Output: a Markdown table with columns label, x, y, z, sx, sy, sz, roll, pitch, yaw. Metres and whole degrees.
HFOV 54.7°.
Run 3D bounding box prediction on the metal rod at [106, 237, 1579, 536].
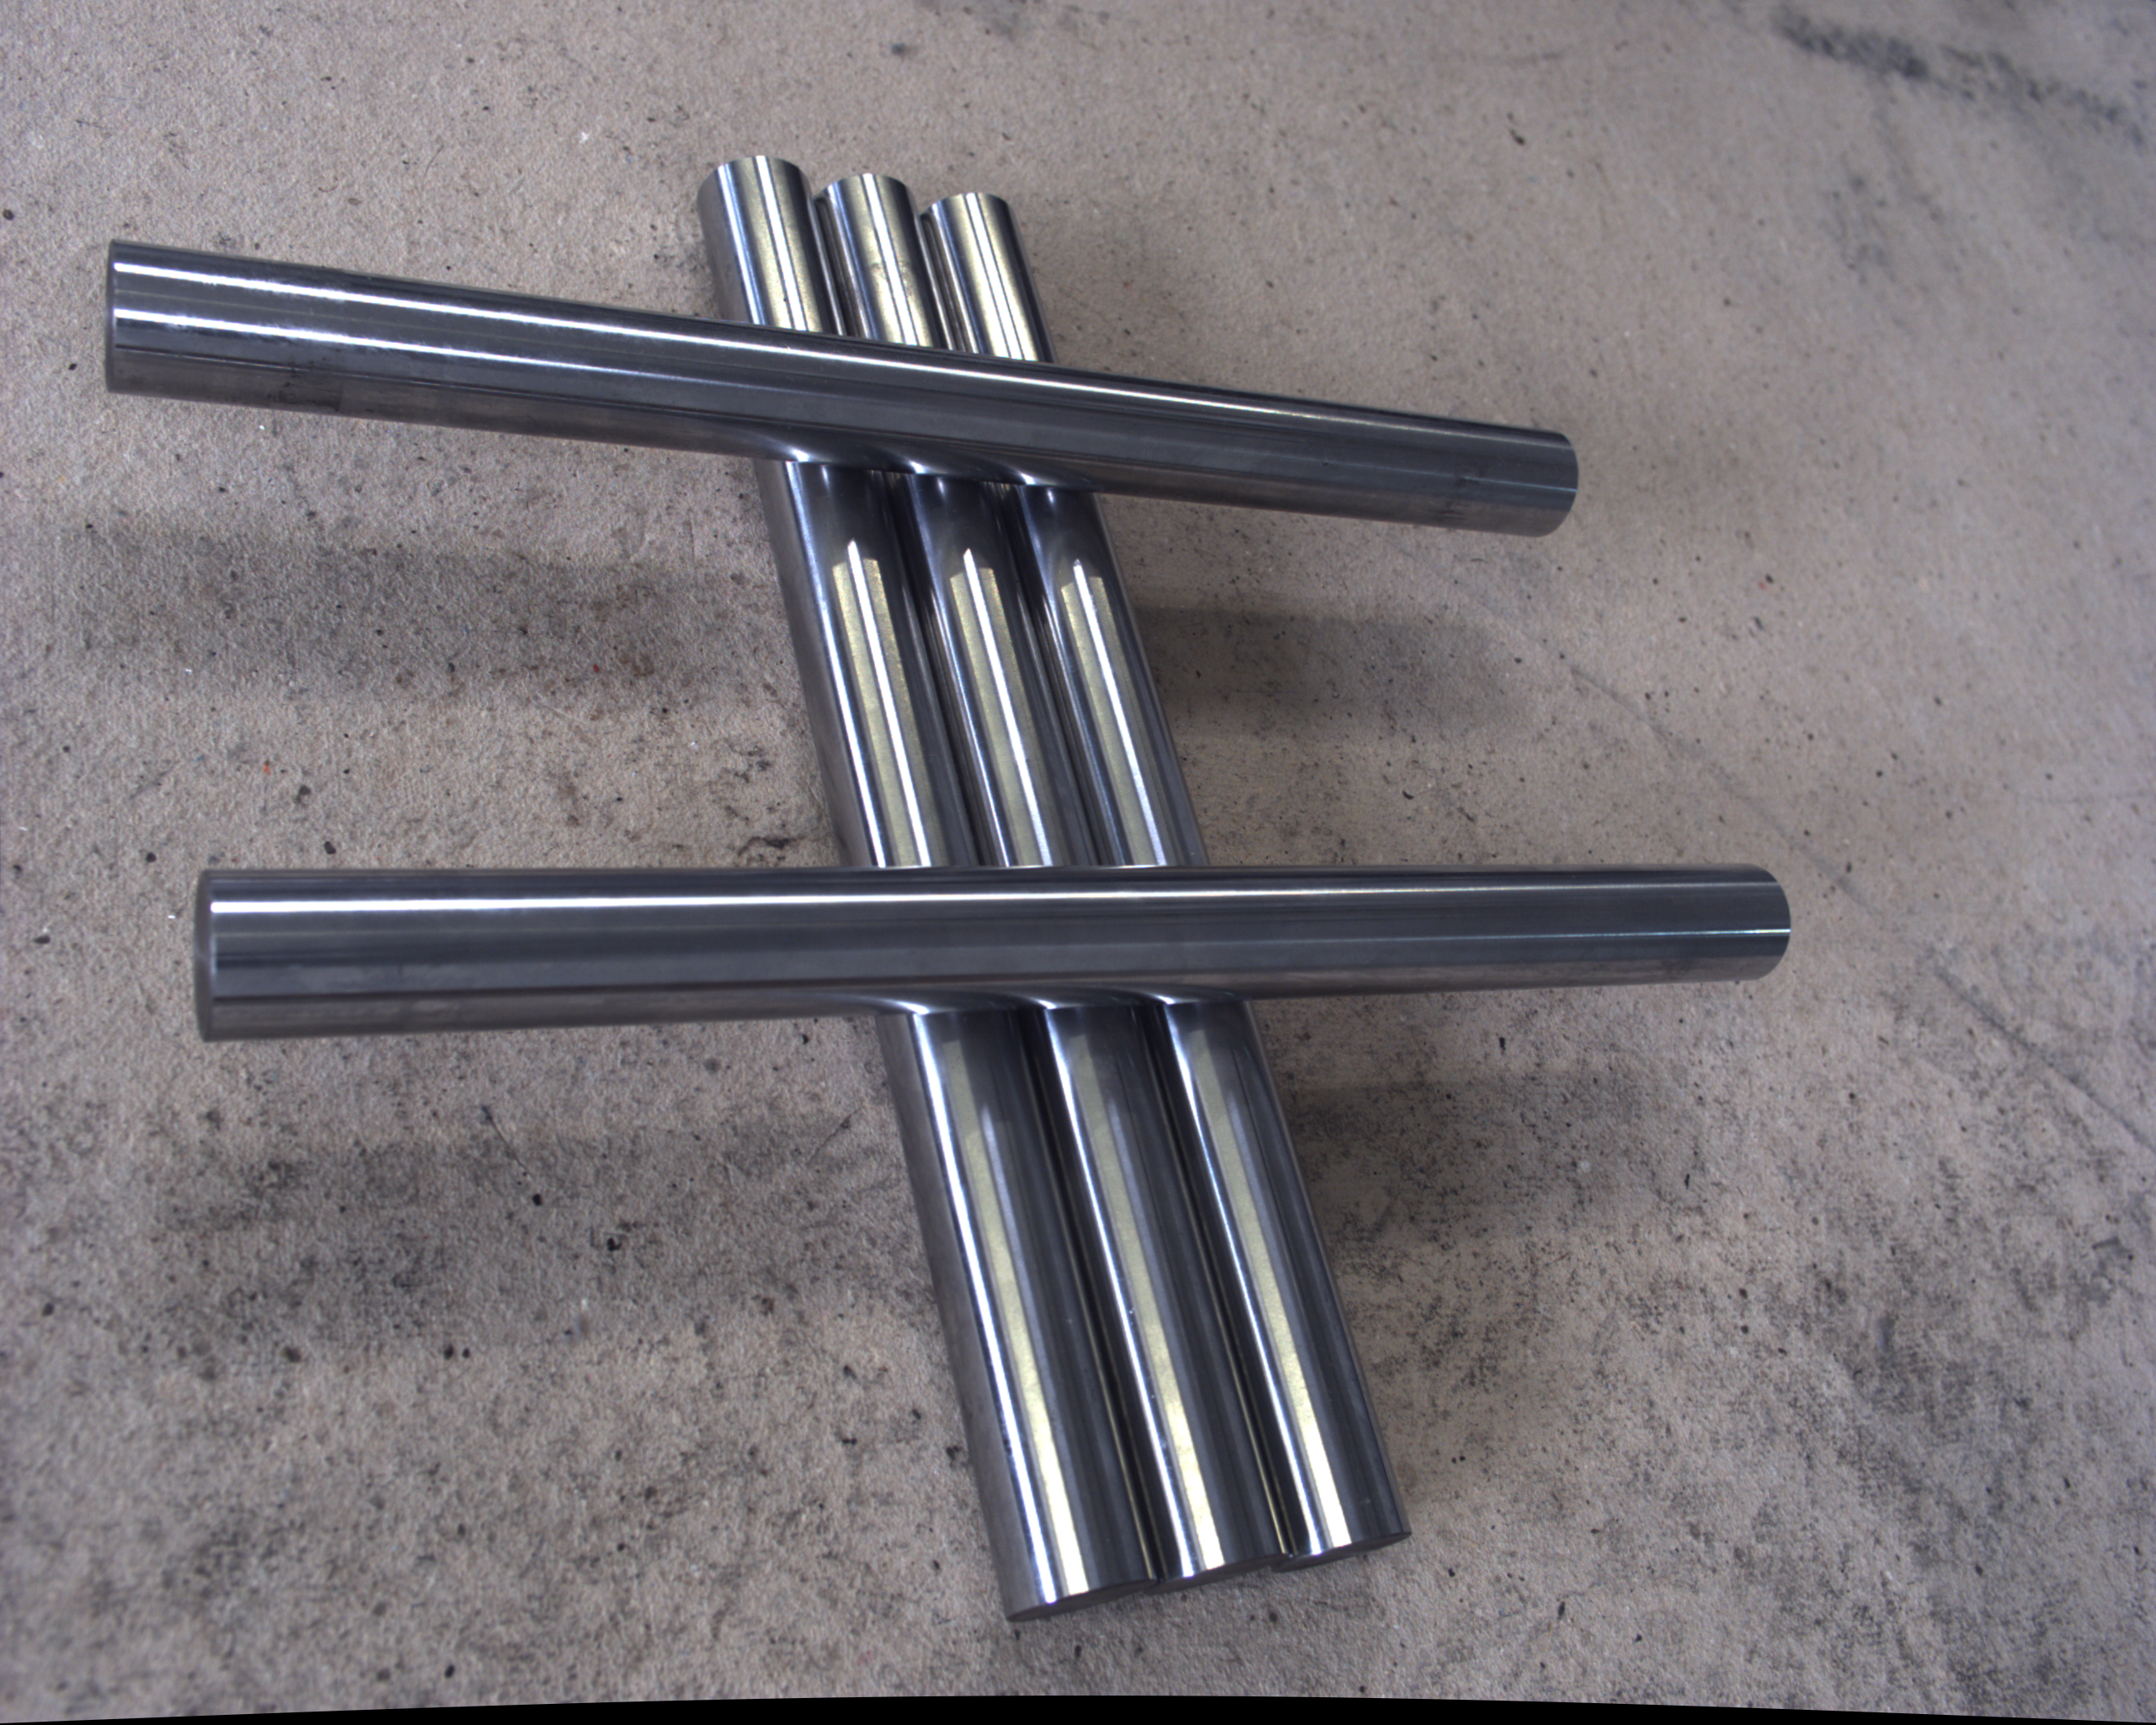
| label | x | y | z | sx | sy | sz | roll | pitch | yaw |
| --- | --- | --- | --- | --- | --- | --- | --- | --- | --- |
| metal rod | -0.025 | -0.089 | 0.413 | 0.303 | 0.025 | 0.025 | 0 | 62 | -28 |

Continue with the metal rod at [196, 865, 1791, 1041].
| label | x | y | z | sx | sy | sz | roll | pitch | yaw |
| --- | --- | --- | --- | --- | --- | --- | --- | --- | --- |
| metal rod | 0.008 | 0.013 | 0.370 | 0.303 | 0.025 | 0.025 | 0 | 62 | -28 |

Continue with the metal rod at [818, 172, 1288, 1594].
| label | x | y | z | sx | sy | sz | roll | pitch | yaw |
| --- | --- | --- | --- | --- | --- | --- | --- | --- | --- |
| metal rod | -0.013 | -0.014 | 0.406 | 0.025 | 0.025 | 0.299 | -1 | 62 | -29 |

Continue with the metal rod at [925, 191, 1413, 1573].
| label | x | y | z | sx | sy | sz | roll | pitch | yaw |
| --- | --- | --- | --- | --- | --- | --- | --- | --- | --- |
| metal rod | 0.009 | -0.013 | 0.418 | 0.025 | 0.025 | 0.299 | -1 | 62 | -29 |

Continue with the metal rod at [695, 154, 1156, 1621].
| label | x | y | z | sx | sy | sz | roll | pitch | yaw |
| --- | --- | --- | --- | --- | --- | --- | --- | --- | --- |
| metal rod | -0.035 | -0.014 | 0.394 | 0.025 | 0.025 | 0.299 | -1 | 62 | -29 |
